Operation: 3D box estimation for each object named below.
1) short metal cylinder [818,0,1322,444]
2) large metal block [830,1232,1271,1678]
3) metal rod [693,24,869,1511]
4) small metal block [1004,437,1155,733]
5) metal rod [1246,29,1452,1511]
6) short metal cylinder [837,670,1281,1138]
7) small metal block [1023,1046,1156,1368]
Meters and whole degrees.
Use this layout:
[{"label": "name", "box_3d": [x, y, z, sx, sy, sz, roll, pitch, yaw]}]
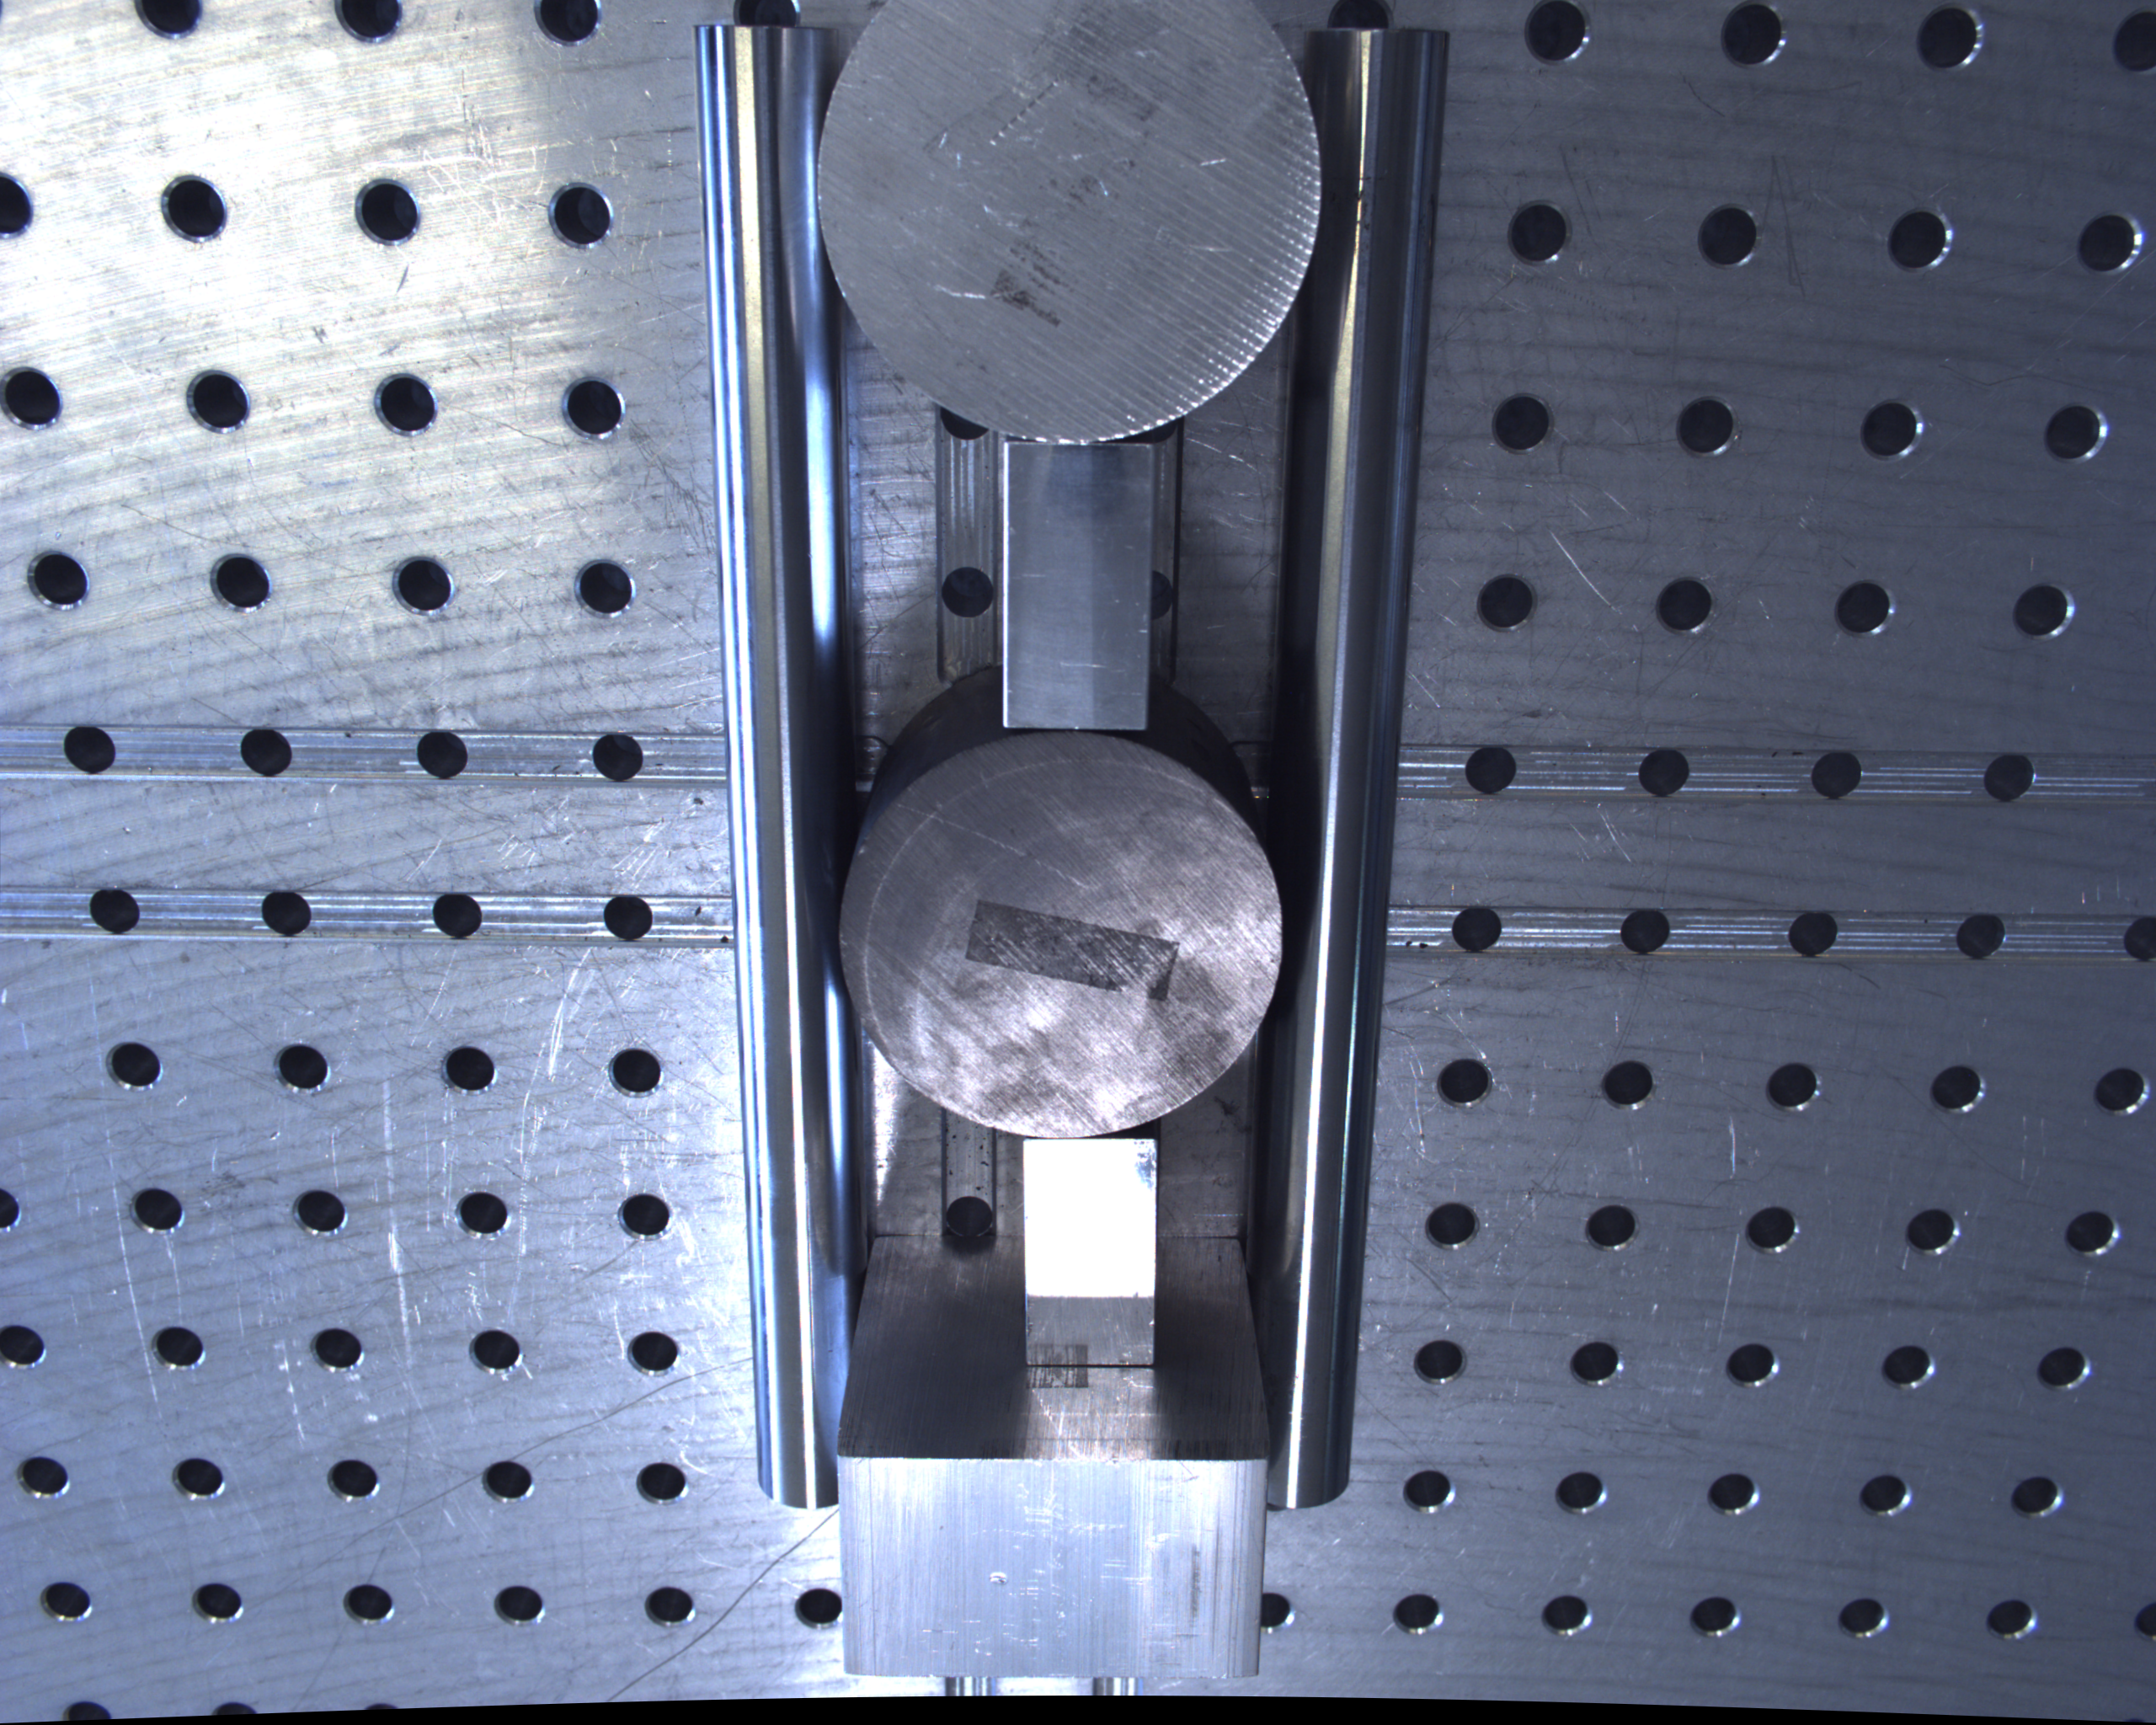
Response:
[{"label": "short metal cylinder", "box_3d": [-0.001, -0.116, 0.357, 0.081, 0.050, 0.079, 0, 110, 0]}, {"label": "large metal block", "box_3d": [-0.005, 0.118, 0.427, 0.081, 0.080, 0.050, 1, 110, -1]}, {"label": "metal rod", "box_3d": [-0.056, -0.004, 0.410, 0.025, 0.025, 0.298, 1, 110, 0]}, {"label": "small metal block", "box_3d": [0.000, -0.055, 0.378, 0.025, 0.050, 0.050, 1, 110, 0]}, {"label": "metal rod", "box_3d": [0.050, -0.004, 0.411, 0.025, 0.025, 0.298, 1, 110, 0]}, {"label": "short metal cylinder", "box_3d": [-0.003, 0.006, 0.402, 0.081, 0.050, 0.079, 0, 110, 0]}, {"label": "small metal block", "box_3d": [0.002, 0.067, 0.424, 0.025, 0.050, 0.050, 0, 110, 0]}]
